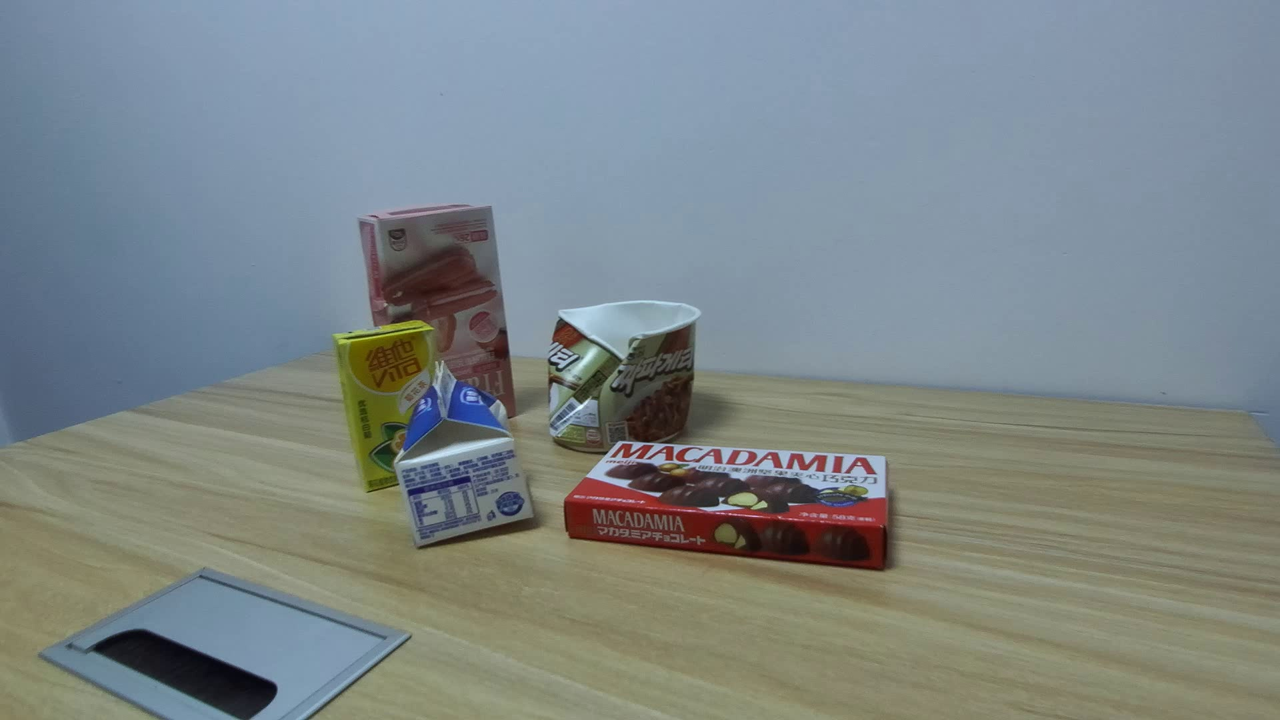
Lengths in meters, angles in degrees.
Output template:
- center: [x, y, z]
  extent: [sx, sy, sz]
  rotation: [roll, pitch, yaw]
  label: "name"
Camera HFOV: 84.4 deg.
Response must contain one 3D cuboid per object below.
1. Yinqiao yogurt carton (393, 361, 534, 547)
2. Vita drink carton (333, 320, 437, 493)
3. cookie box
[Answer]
- center: [-0.113, 0.052, 0.442]
  extent: [0.071, 0.094, 0.077]
  rotation: [-13, 17, -11]
  label: "Yinqiao yogurt carton"
- center: [-0.178, 0.031, 0.512]
  extent: [0.067, 0.109, 0.043]
  rotation: [-13, 18, -28]
  label: "Vita drink carton"
- center: [-0.169, -0.032, 0.590]
  extent: [0.105, 0.187, 0.048]
  rotation: [-16, 20, -36]
  label: "cookie box"
